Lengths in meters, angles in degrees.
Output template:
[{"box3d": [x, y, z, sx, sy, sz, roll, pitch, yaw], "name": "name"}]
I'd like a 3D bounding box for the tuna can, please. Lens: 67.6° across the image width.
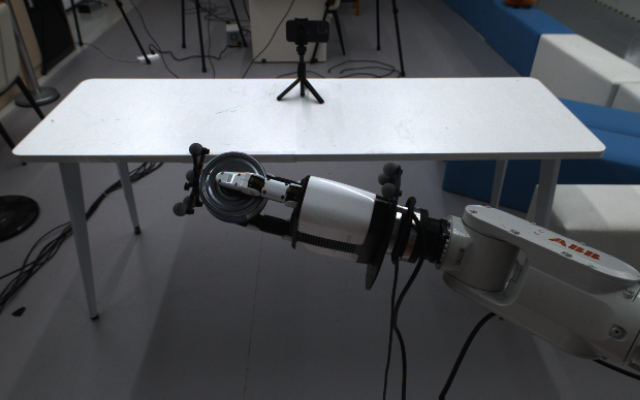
[{"box3d": [-0.105, -0.017, 0.605, 0.085, 0.034, 0.085, 1, 74, -5], "name": "tuna can"}]
